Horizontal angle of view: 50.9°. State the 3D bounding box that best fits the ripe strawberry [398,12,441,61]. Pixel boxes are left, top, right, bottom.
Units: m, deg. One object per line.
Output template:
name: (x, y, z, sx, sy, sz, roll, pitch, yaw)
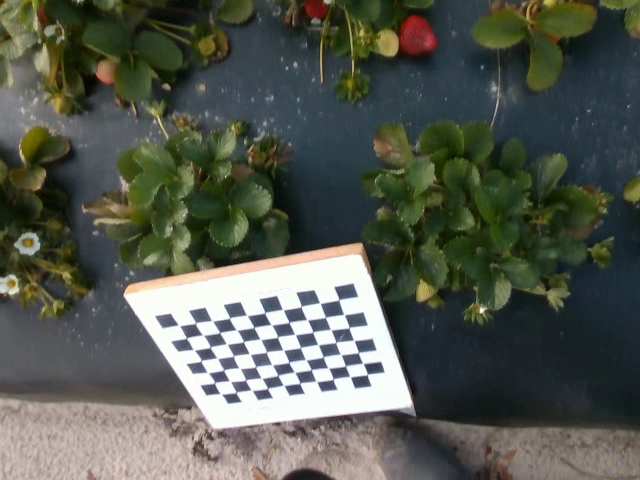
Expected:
ripe strawberry: (0.129, -0.262, 0.824, 0.048, 0.051, 0.055, -11, 50, -32)
